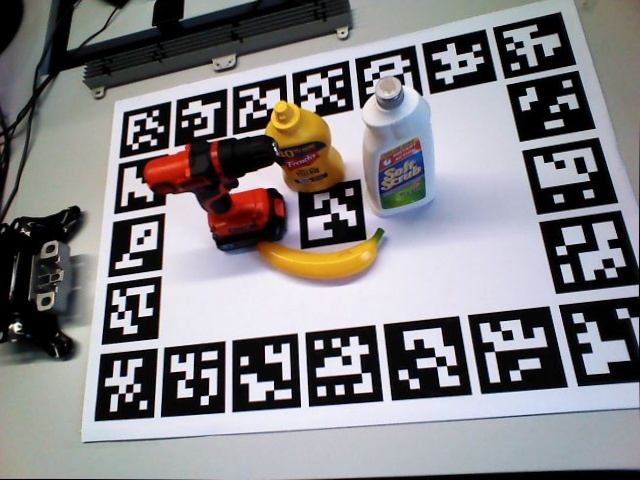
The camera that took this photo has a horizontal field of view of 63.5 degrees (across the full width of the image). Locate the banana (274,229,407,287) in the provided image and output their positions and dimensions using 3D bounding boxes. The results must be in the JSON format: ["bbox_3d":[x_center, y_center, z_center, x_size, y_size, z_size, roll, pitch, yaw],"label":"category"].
[{"bbox_3d":[0.029,0.031,0.744,0.198,0.039,0.074,-7,73,15],"label":"banana"}]

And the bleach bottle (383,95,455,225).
[{"bbox_3d":[0.120,-0.099,0.661,0.103,0.251,0.067,-17,68,9],"label":"bleach bottle"}]

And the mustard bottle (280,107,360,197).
[{"bbox_3d":[-0.005,-0.126,0.729,0.096,0.191,0.058,-8,68,11],"label":"mustard bottle"}]

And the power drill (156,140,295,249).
[{"bbox_3d":[-0.104,-0.060,0.712,0.185,0.187,0.057,-11,61,8],"label":"power drill"}]
